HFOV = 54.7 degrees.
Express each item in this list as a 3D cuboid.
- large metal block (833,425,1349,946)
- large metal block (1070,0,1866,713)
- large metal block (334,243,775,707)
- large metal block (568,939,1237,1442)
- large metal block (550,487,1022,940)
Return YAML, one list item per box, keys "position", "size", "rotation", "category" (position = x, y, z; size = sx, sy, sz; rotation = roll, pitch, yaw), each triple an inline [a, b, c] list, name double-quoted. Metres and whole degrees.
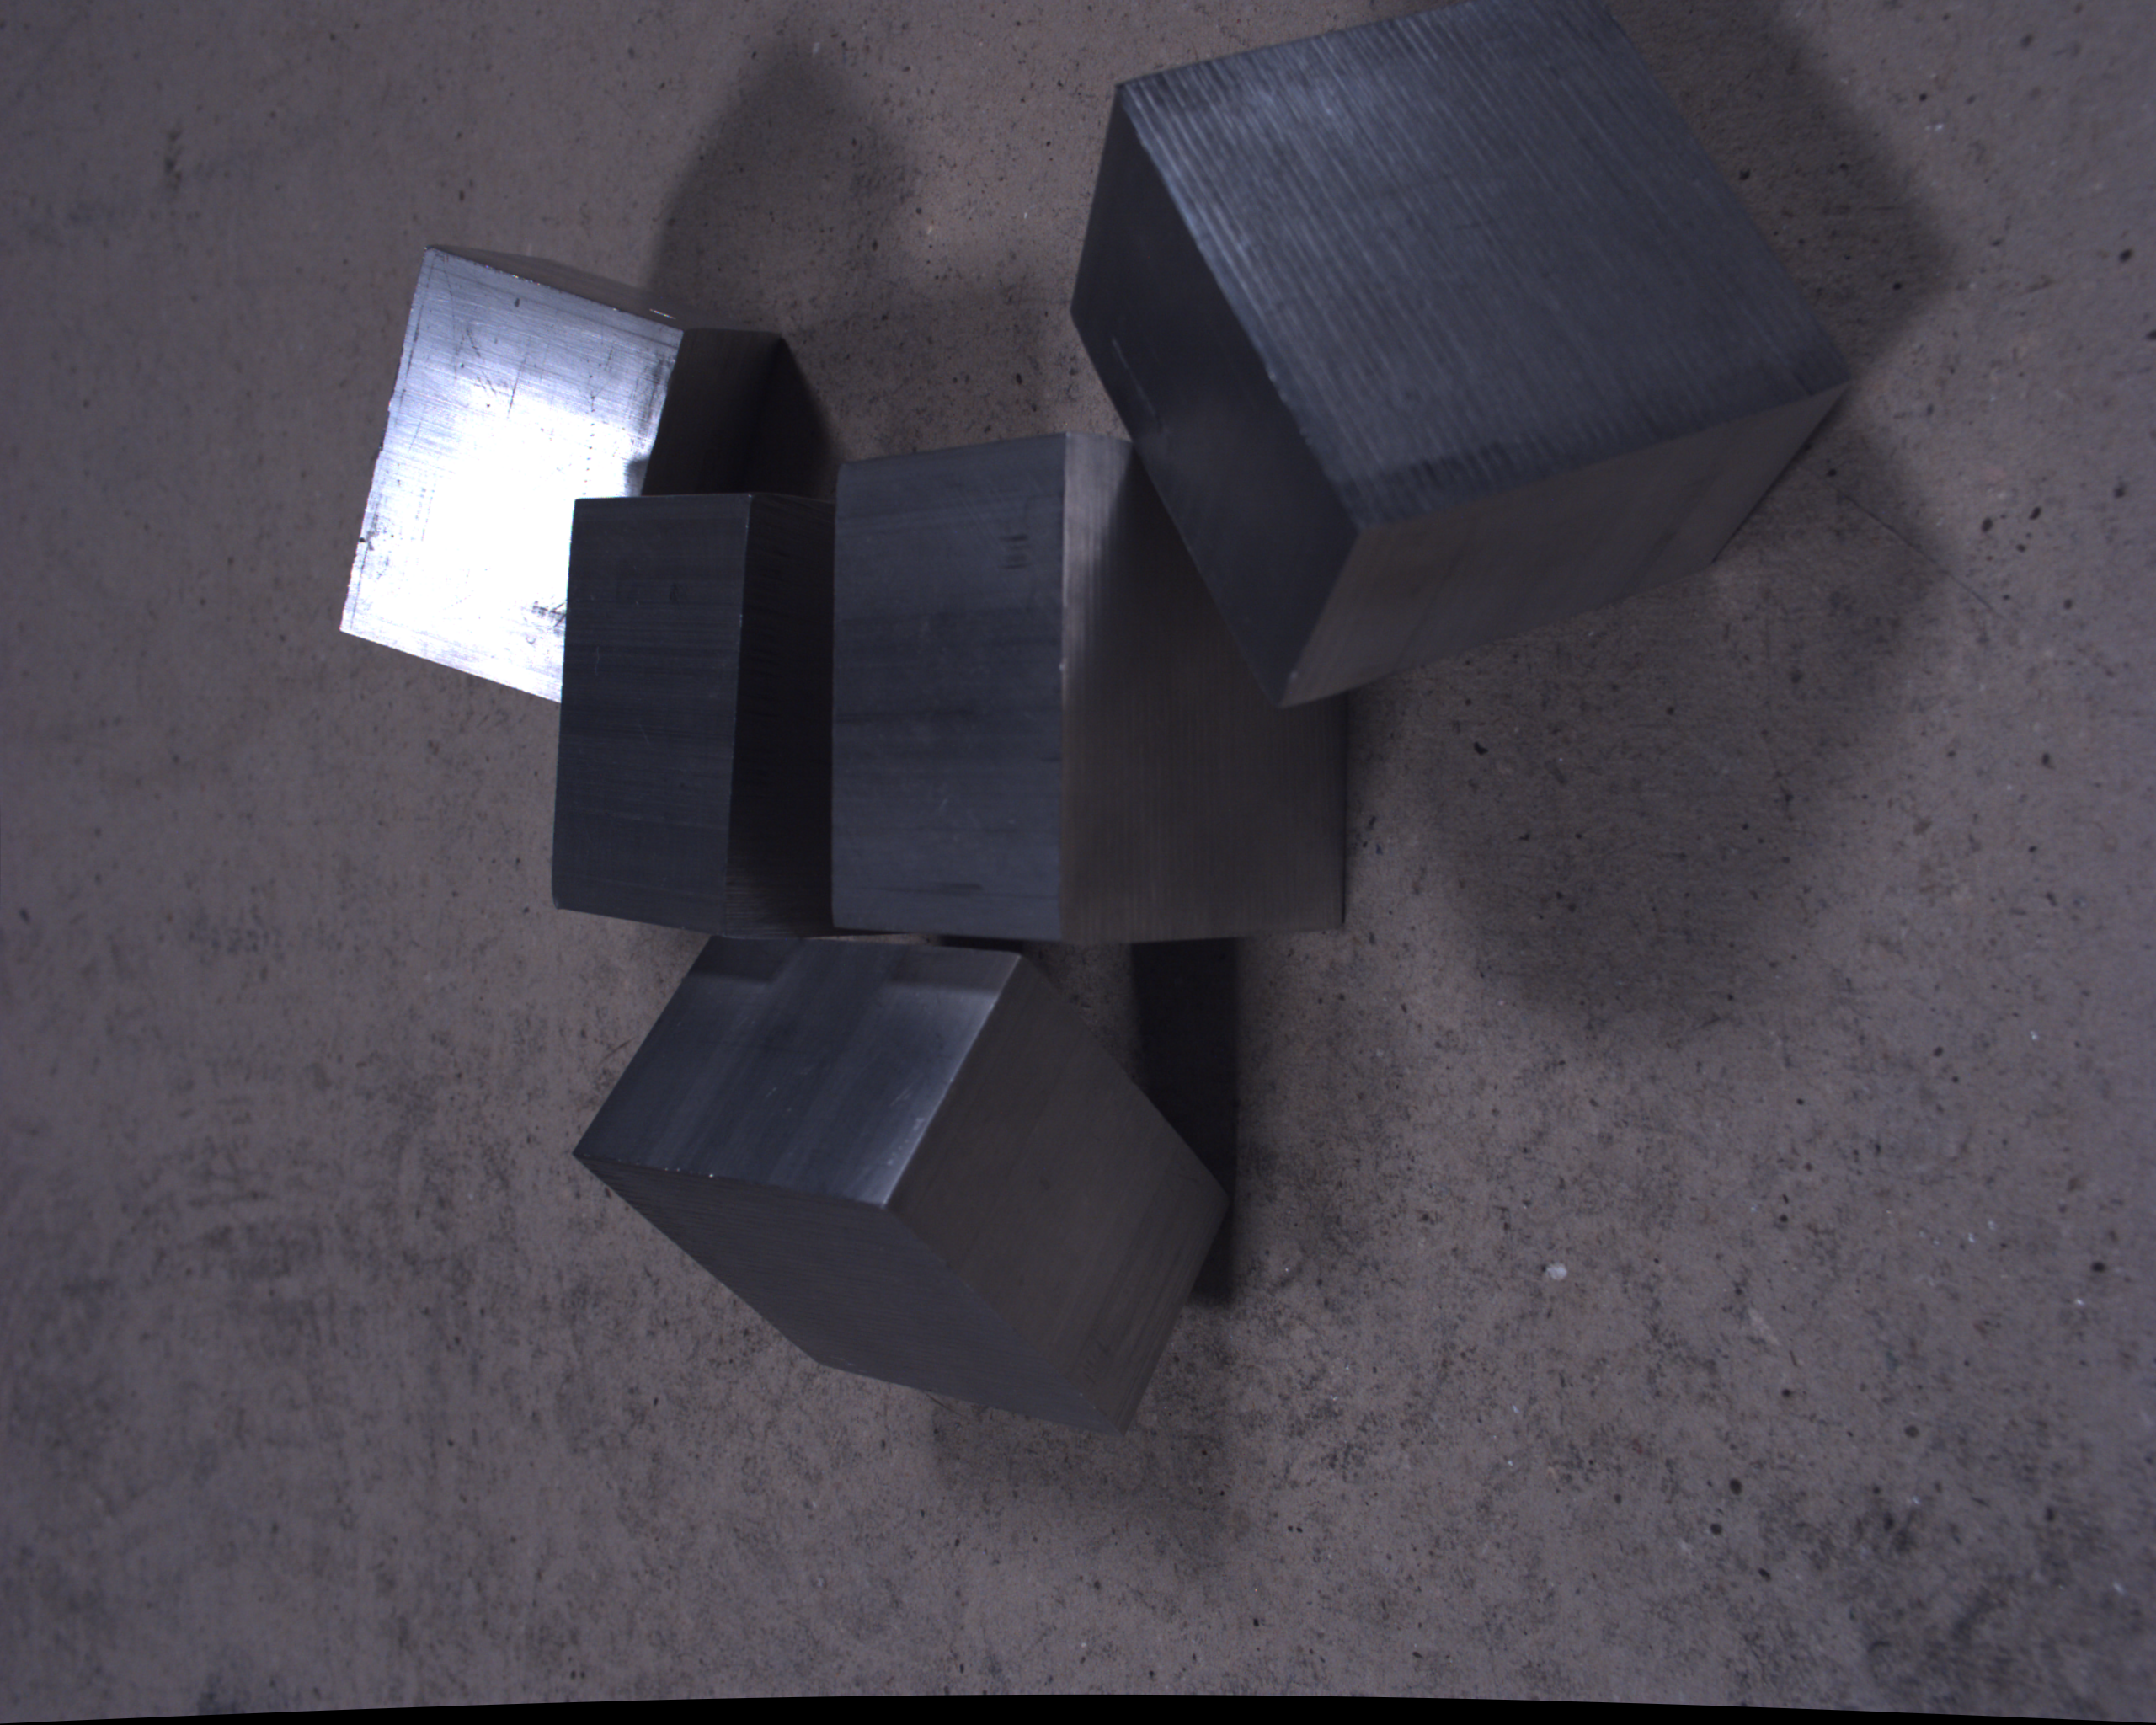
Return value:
- position: [0.004, -0.028, 0.365]
  size: [0.050, 0.081, 0.079]
  rotation: [1, 91, 40]
  category: "large metal block"
- position: [0.054, -0.079, 0.316]
  size: [0.050, 0.081, 0.080]
  rotation: [108, 140, -64]
  category: "large metal block"
- position: [-0.109, -0.083, 0.446]
  size: [0.050, 0.080, 0.079]
  rotation: [18, 104, 1]
  category: "large metal block"
- position: [-0.031, 0.059, 0.386]
  size: [0.080, 0.080, 0.050]
  rotation: [1, 52, 40]
  category: "large metal block"
- position: [-0.054, -0.028, 0.413]
  size: [0.050, 0.081, 0.079]
  rotation: [6, 94, 39]
  category: "large metal block"
